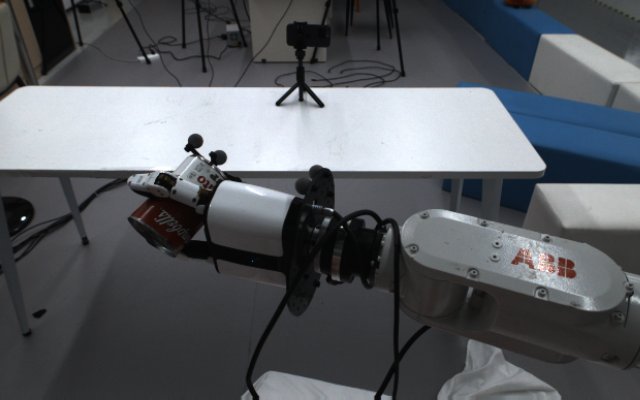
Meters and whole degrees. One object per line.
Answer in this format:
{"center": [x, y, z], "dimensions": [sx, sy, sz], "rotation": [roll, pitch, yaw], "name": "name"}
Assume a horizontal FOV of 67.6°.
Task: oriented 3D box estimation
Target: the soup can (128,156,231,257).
{"center": [-0.156, 0.006, 0.551], "dimensions": [0.067, 0.067, 0.101], "rotation": [23, 61, 27], "name": "soup can"}
